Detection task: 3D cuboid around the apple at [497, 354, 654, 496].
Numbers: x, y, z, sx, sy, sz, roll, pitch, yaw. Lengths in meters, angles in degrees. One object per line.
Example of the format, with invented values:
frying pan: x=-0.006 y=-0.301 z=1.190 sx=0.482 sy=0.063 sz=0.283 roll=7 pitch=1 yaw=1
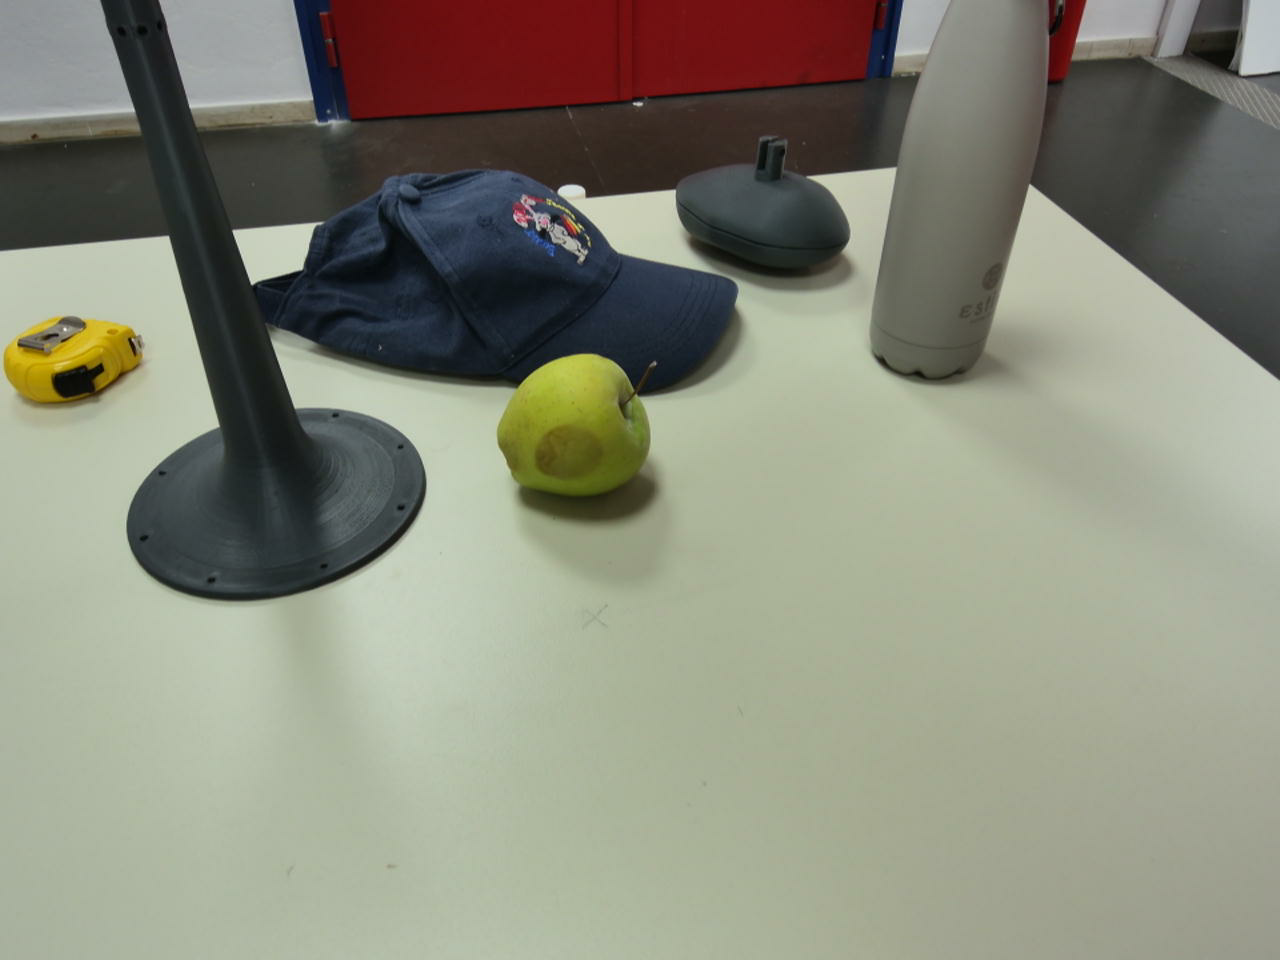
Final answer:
apple: x=-0.033 y=-0.030 z=0.522 sx=0.077 sy=0.075 sz=0.072 roll=22 pitch=43 yaw=24
